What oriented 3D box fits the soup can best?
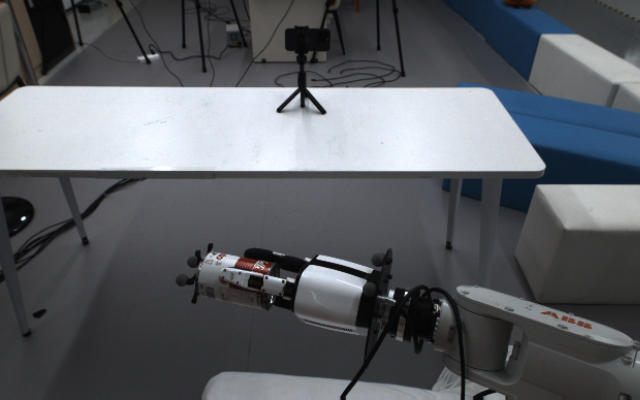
[{"bbox_3d":[-0.113,0.115,0.682,0.101,0.067,0.067,8,35,11],"label":"soup can"}]
